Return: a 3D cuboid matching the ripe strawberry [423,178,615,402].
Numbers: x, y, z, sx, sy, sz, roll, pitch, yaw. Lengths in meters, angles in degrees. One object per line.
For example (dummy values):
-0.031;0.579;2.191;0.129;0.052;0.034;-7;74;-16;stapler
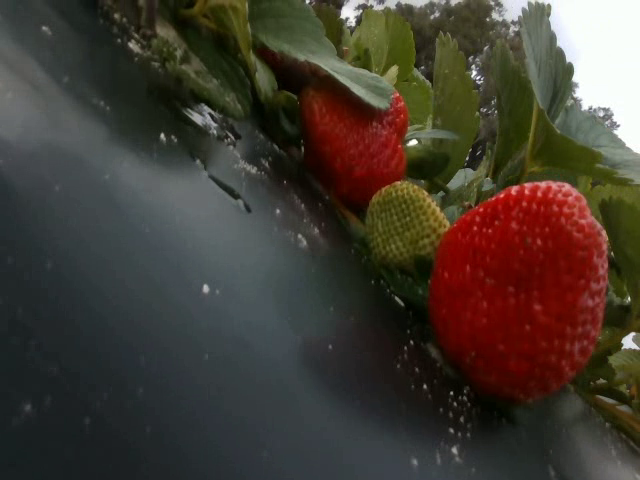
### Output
0.058;0.009;0.157;0.057;0.056;0.065;-4;-23;-13;ripe strawberry
